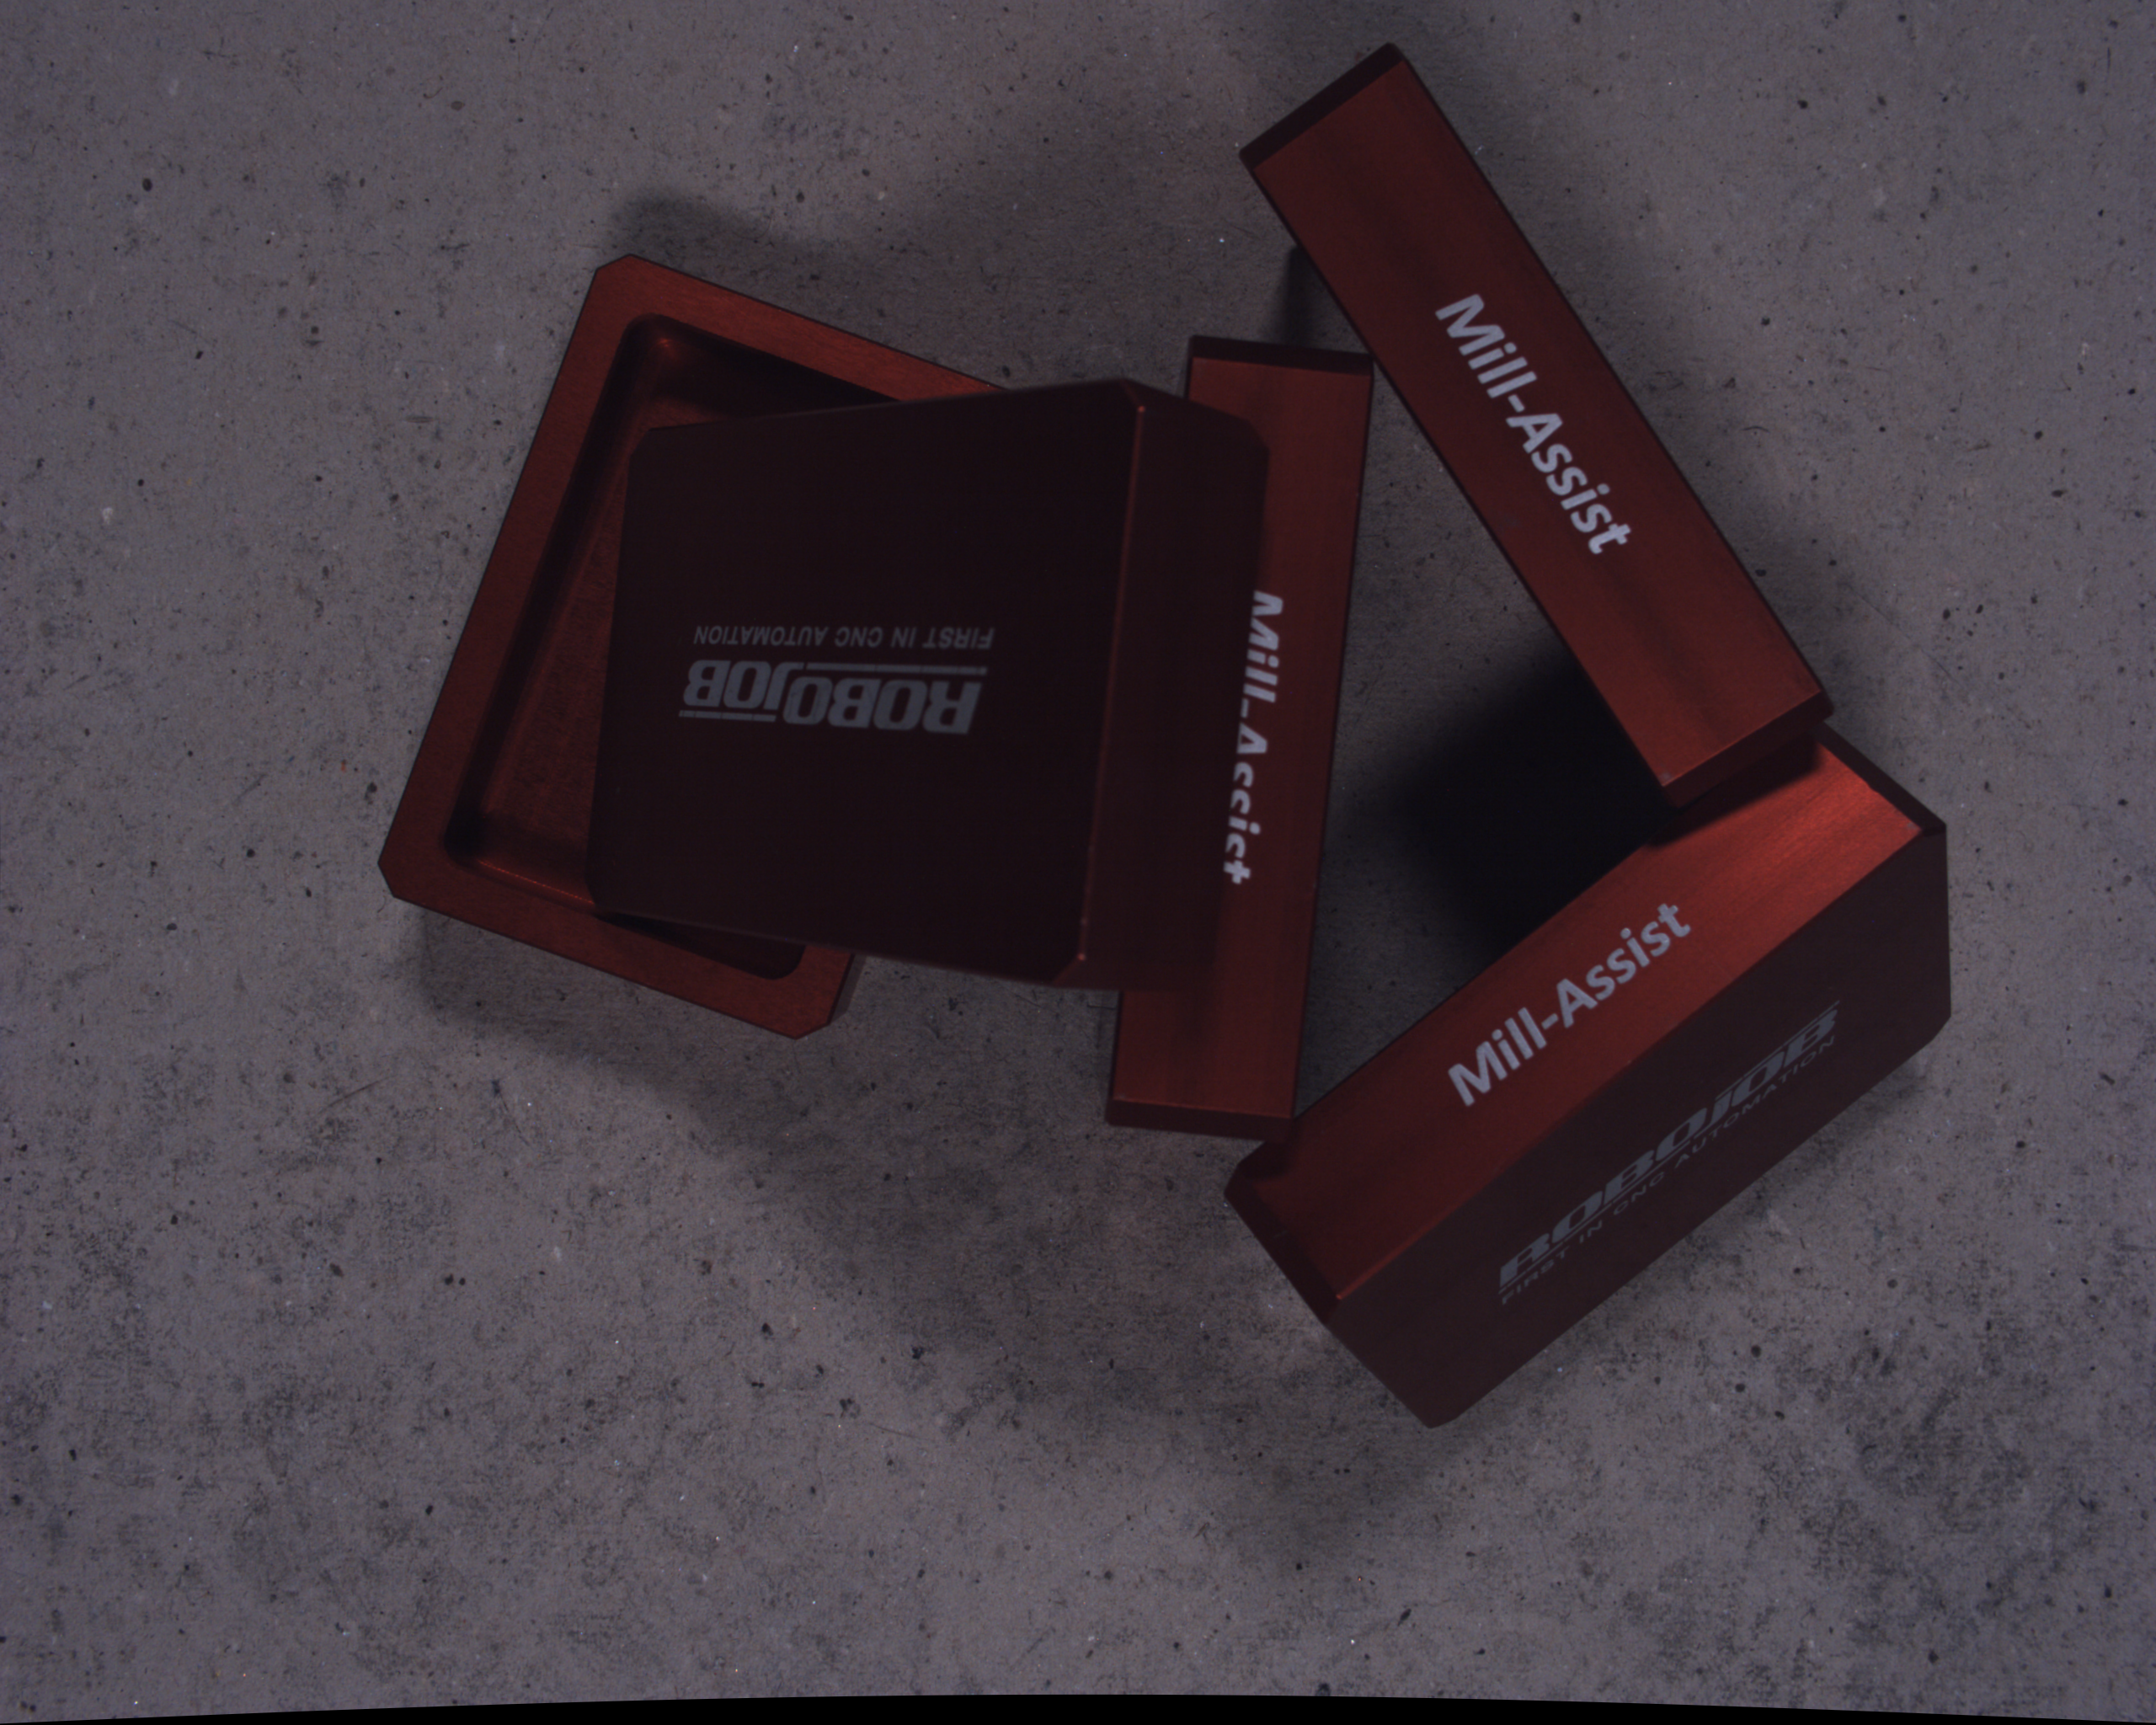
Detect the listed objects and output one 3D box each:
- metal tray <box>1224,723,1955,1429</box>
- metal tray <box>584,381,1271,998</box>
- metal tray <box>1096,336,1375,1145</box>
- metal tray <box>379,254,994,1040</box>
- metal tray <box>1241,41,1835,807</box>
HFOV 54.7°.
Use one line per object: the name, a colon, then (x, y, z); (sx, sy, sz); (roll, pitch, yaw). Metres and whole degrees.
metal tray: (0.098, 0.043, 0.380); (0.130, 0.090, 0.030); (-38, 55, 0)
metal tray: (-0.031, -0.030, 0.354); (0.130, 0.030, 0.089); (7, 90, 44)
metal tray: (0.026, -0.020, 0.379); (0.030, 0.090, 0.129); (6, 91, 0)
metal tray: (-0.069, -0.041, 0.408); (0.090, 0.030, 0.129); (20, 90, -1)
metal tray: (0.082, -0.076, 0.377); (0.030, 0.090, 0.130); (-33, 90, 14)
